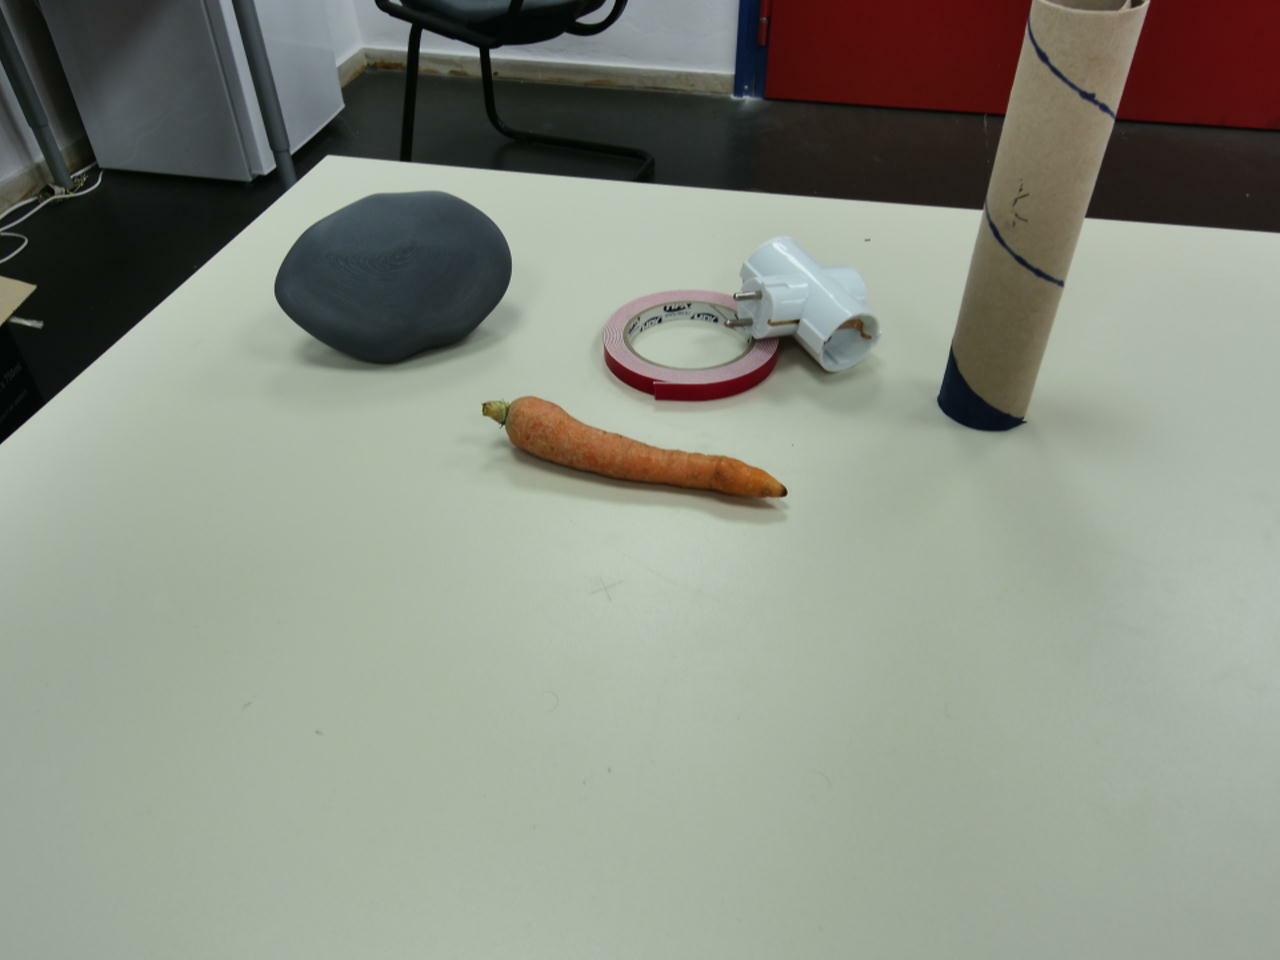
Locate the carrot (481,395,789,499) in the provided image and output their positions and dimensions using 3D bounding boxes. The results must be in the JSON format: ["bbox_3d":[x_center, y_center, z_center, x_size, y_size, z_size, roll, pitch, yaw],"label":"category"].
[{"bbox_3d":[-0.006,-0.016,0.532,0.173,0.032,0.030,14,41,17],"label":"carrot"}]
